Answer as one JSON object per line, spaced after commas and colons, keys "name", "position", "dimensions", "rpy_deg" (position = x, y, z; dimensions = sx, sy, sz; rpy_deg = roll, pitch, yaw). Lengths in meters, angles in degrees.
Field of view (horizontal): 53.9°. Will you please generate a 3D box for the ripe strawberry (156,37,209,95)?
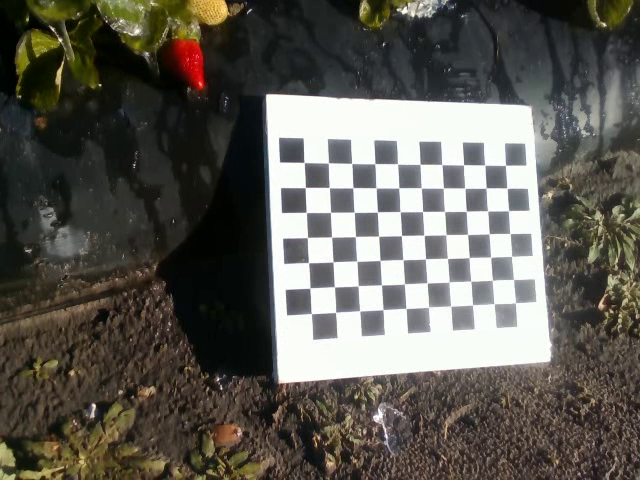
{"name": "ripe strawberry", "position": [-0.116, -0.162, 0.570], "dimensions": [0.041, 0.052, 0.040], "rpy_deg": [-19, -8, -19]}
